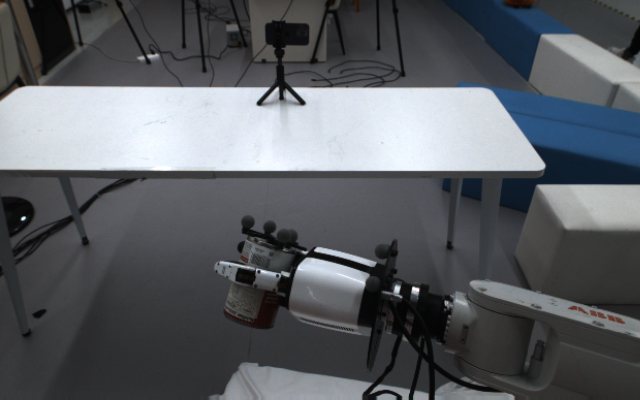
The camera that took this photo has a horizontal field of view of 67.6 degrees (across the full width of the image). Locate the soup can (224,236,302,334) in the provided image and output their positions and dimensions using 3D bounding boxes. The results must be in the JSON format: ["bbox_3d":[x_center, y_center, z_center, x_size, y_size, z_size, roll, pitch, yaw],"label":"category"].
[{"bbox_3d":[-0.074,0.103,0.610,0.067,0.101,0.067,17,-1,0],"label":"soup can"}]
